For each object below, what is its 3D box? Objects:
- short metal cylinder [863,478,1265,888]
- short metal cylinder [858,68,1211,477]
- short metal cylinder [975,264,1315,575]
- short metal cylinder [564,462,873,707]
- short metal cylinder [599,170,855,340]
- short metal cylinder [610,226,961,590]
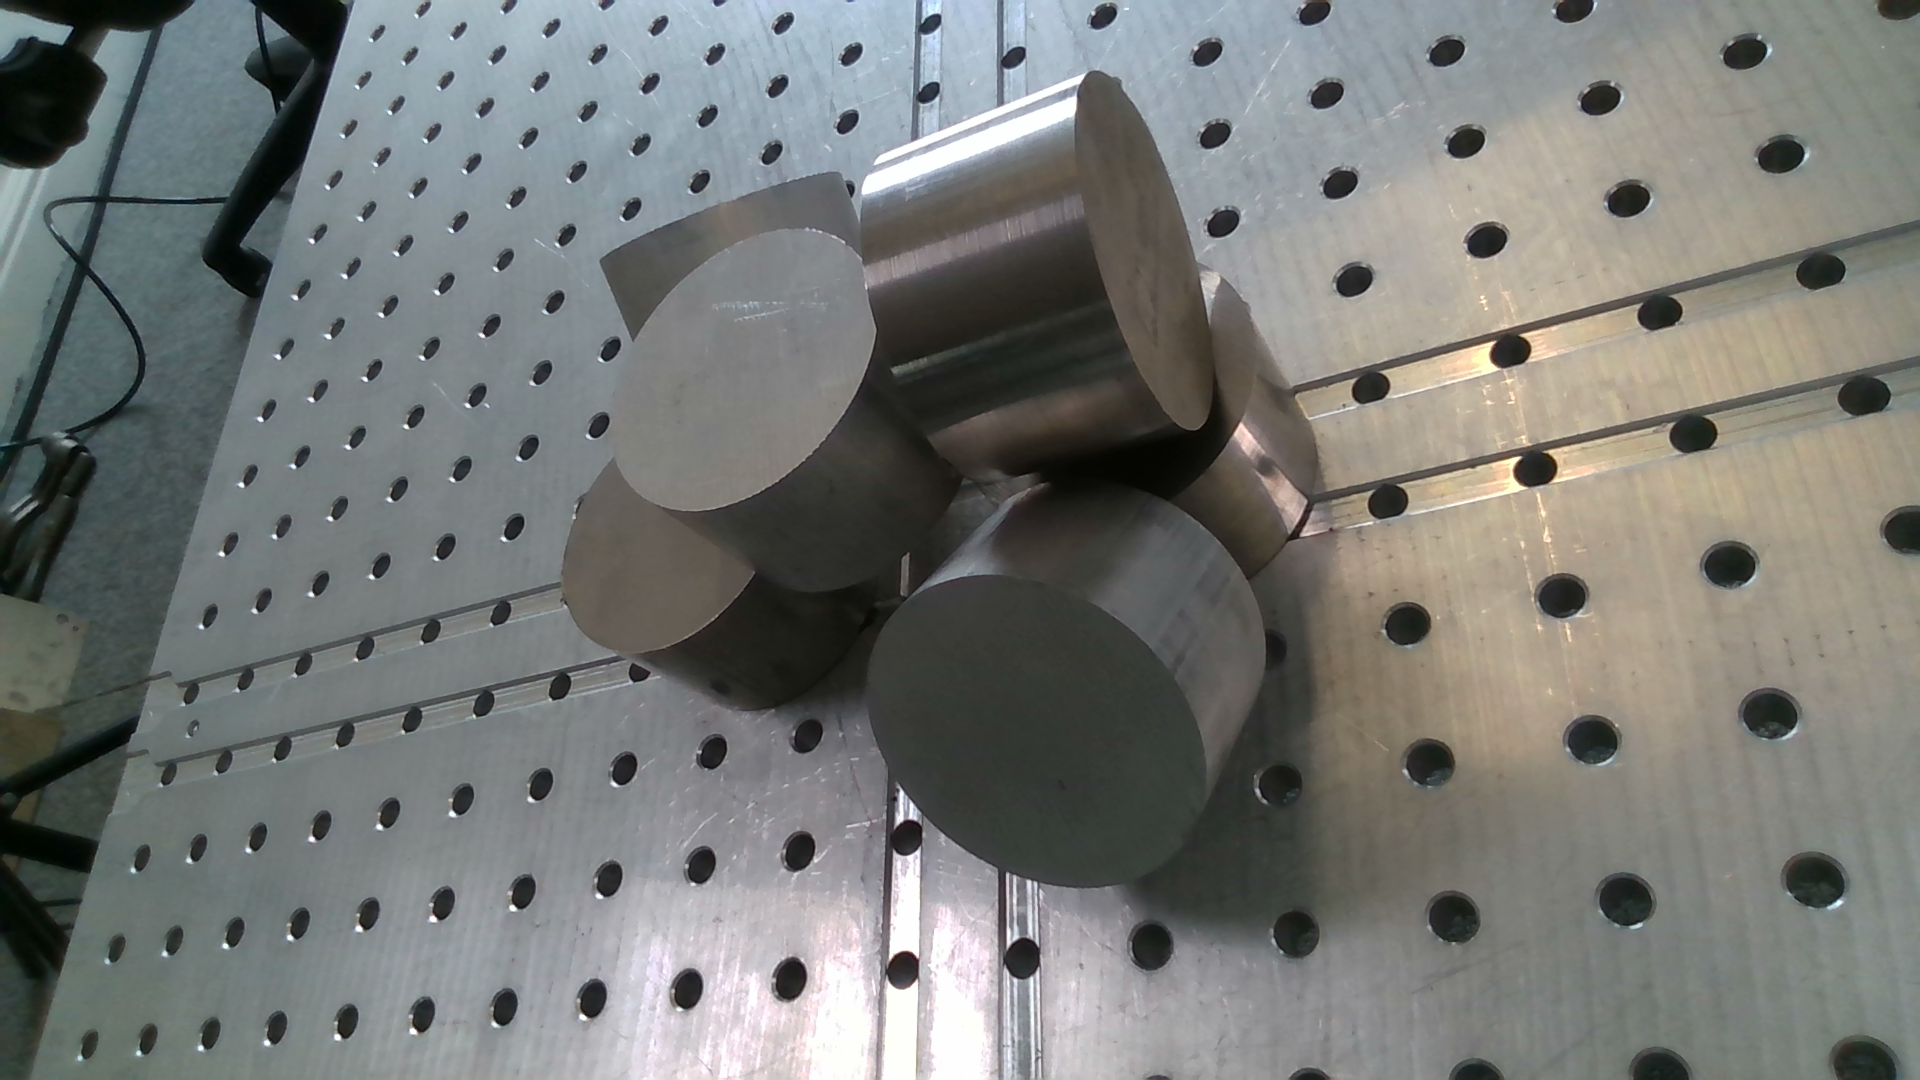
[{"bbox_3d":[0.025,0.032,0.319,0.080,0.080,0.050,-4,23,30],"label":"short metal cylinder"},{"bbox_3d":[0.019,-0.059,0.313,0.050,0.080,0.080,-14,59,25],"label":"short metal cylinder"},{"bbox_3d":[0.047,-0.028,0.365,0.080,0.050,0.080,-15,59,25],"label":"short metal cylinder"},{"bbox_3d":[-0.073,0.005,0.421,0.080,0.050,0.080,-15,59,26],"label":"short metal cylinder"},{"bbox_3d":[-0.066,-0.078,0.435,0.080,0.080,0.050,-16,102,24],"label":"short metal cylinder"},{"bbox_3d":[-0.043,-0.033,0.358,0.080,0.050,0.080,-14,59,25],"label":"short metal cylinder"}]
